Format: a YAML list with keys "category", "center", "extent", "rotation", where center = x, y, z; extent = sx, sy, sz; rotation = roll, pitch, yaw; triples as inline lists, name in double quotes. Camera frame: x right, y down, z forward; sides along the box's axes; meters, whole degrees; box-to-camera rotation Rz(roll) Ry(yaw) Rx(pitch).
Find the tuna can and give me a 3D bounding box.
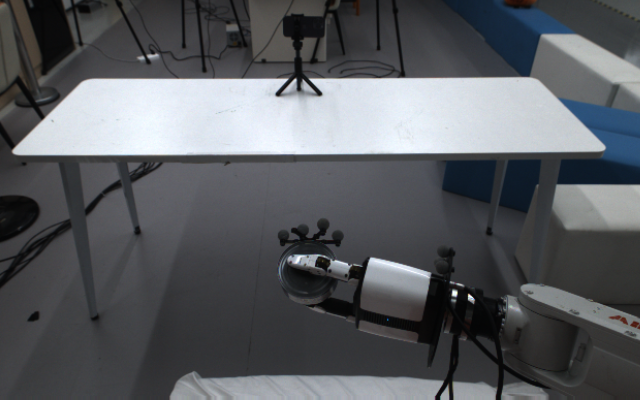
- category: "tuna can"
  center: [-0.015, 0.106, 0.674]
  extent: [0.085, 0.034, 0.085]
  rotation: [-1, 58, 2]
